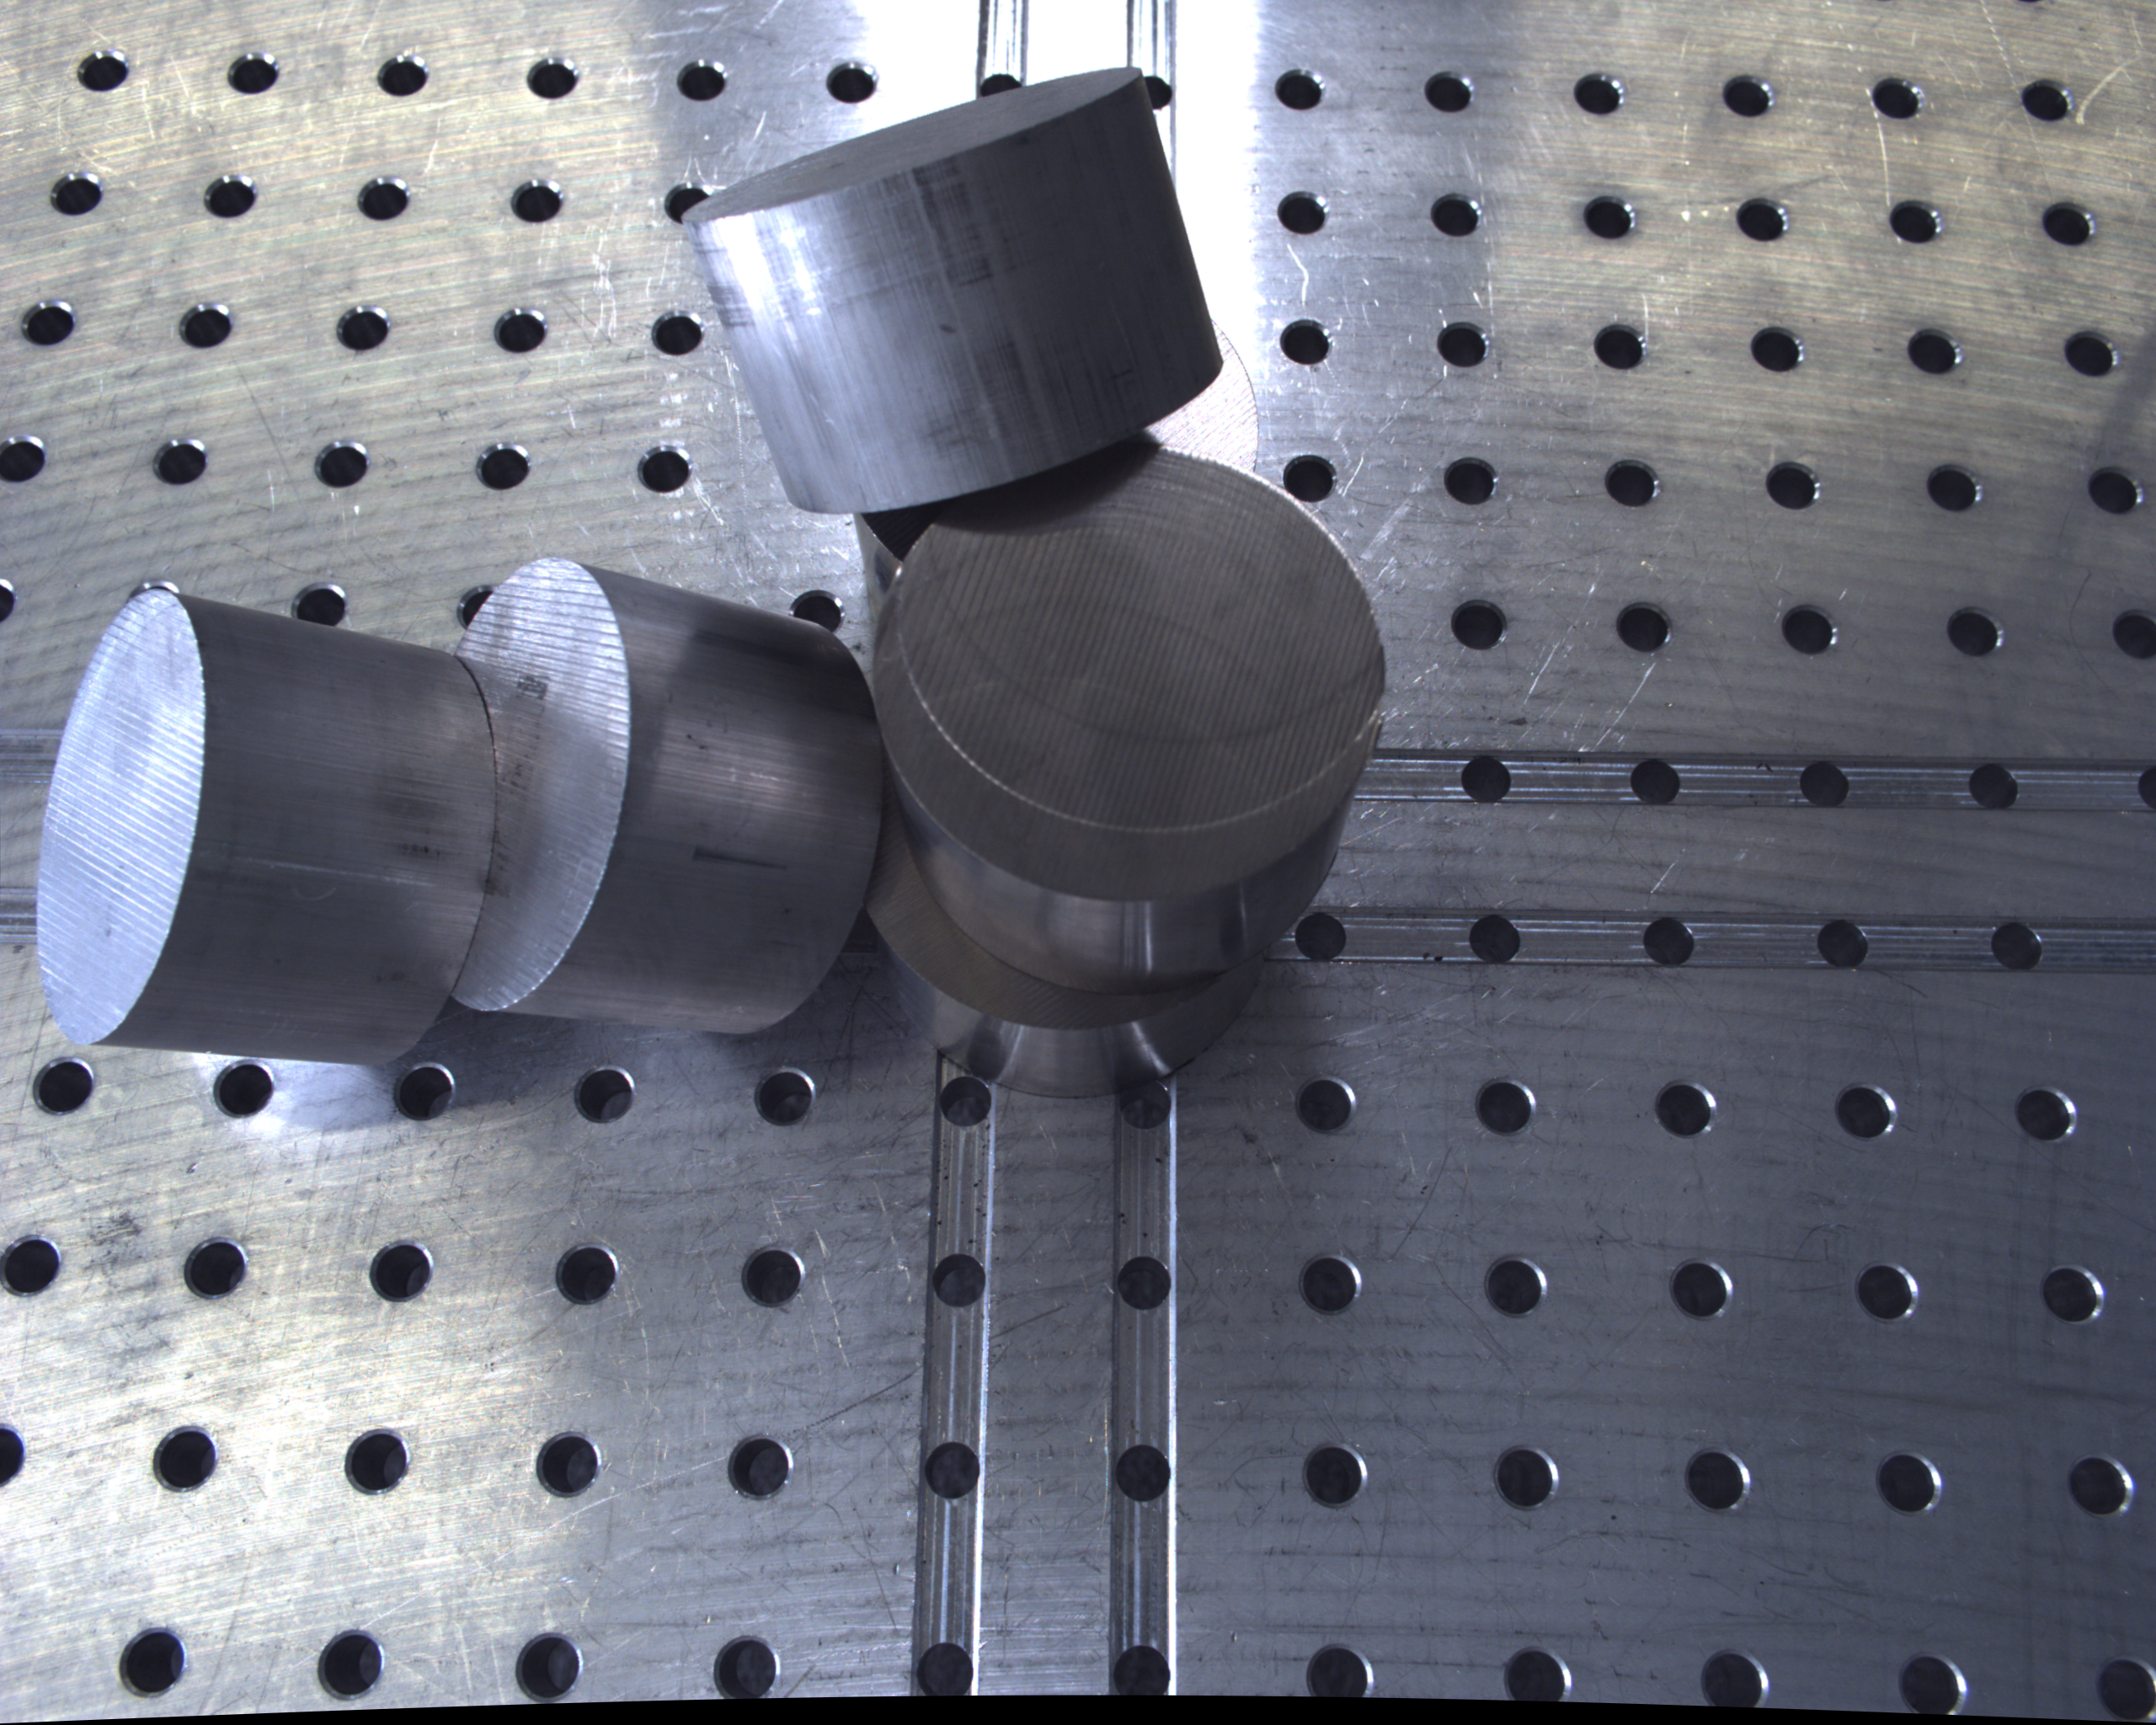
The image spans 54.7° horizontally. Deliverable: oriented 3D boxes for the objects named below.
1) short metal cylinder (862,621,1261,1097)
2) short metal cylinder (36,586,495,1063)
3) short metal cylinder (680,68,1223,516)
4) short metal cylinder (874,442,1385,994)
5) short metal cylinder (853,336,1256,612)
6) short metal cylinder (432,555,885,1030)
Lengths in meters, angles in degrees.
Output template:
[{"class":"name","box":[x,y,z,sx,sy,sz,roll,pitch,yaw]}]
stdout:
[{"class":"short metal cylinder","box":[-0.001,0.000,0.398,0.081,0.050,0.080,0,70,0]},{"class":"short metal cylinder","box":[-0.148,-0.005,0.376,0.050,0.080,0.080,11,63,-42]},{"class":"short metal cylinder","box":[-0.021,-0.099,0.358,0.080,0.080,0.050,-22,115,-8]},{"class":"short metal cylinder","box":[0.008,-0.023,0.352,0.081,0.050,0.080,0,70,0]},{"class":"short metal cylinder","box":[-0.006,-0.076,0.425,0.081,0.050,0.080,0,70,0]},{"class":"short metal cylinder","box":[-0.079,-0.011,0.378,0.050,0.080,0.080,11,63,-41]}]
